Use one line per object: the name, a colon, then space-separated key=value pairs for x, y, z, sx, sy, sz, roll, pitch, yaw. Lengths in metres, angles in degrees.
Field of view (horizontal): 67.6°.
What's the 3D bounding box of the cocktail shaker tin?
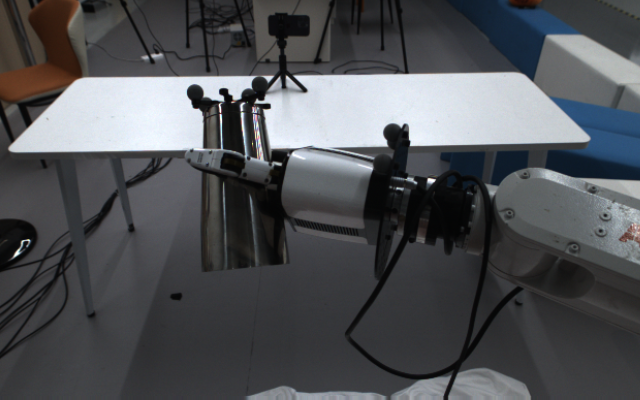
cocktail shaker tin: x=-0.085 y=-0.012 z=0.517 sx=0.093 sy=0.170 sz=0.093 roll=-6 pitch=-7 yaw=-1
